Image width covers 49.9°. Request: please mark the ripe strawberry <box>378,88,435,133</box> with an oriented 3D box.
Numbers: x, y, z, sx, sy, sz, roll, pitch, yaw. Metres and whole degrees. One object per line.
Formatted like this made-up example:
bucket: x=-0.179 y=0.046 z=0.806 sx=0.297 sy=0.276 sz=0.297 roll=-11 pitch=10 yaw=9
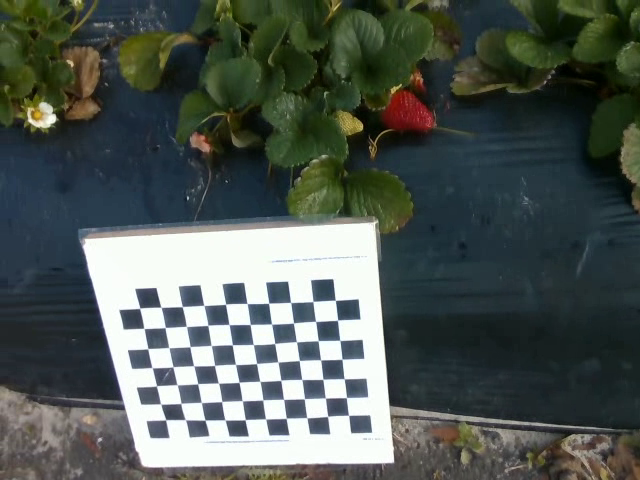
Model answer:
ripe strawberry: x=0.079 y=-0.114 z=0.614 sx=0.064 sy=0.051 sz=0.043 roll=27 pitch=21 yaw=-3
